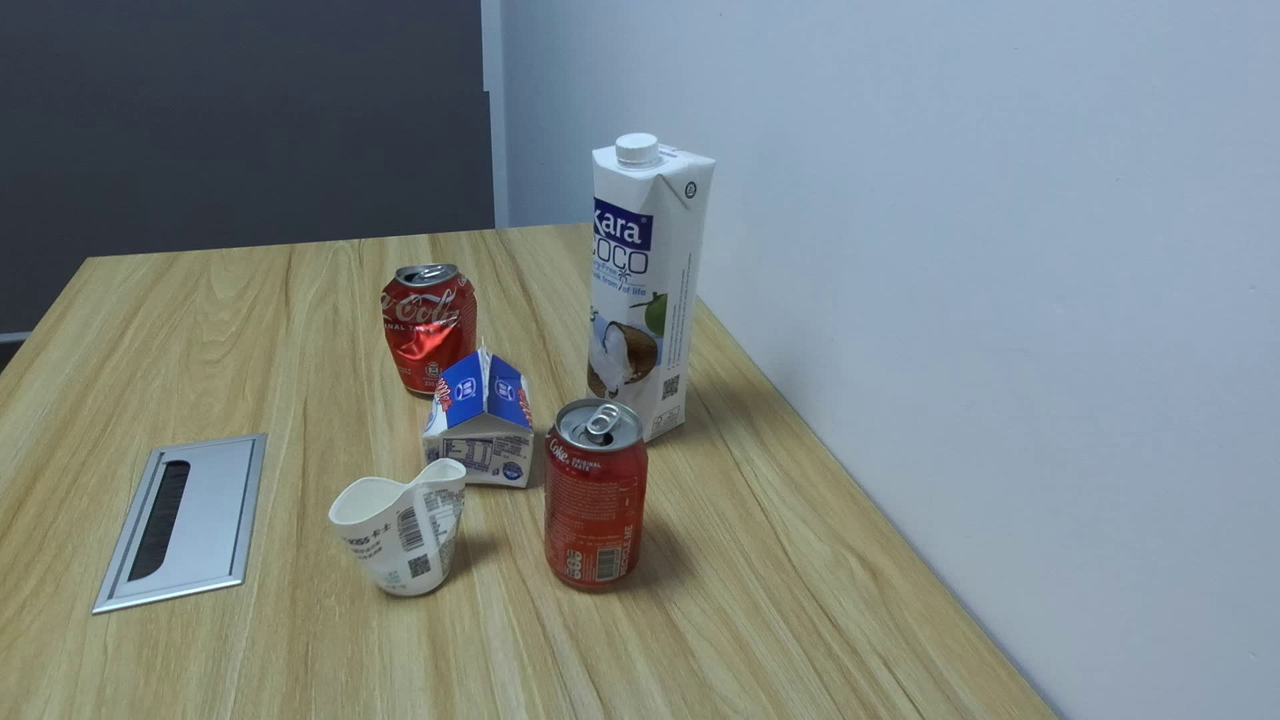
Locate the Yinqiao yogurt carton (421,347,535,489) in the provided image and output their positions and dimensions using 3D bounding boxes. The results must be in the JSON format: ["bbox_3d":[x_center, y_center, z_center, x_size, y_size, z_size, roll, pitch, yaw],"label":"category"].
[{"bbox_3d":[-0.123,0.040,0.540,0.080,0.097,0.074,2,33,-15],"label":"Yinqiao yogurt carton"}]

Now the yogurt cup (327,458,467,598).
[{"bbox_3d":[-0.150,0.107,0.453,0.053,0.071,0.075,19,36,19],"label":"yogurt cup"}]

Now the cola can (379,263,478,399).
[{"bbox_3d":[-0.182,-0.028,0.629,0.069,0.112,0.066,15,33,18],"label":"cola can"}]

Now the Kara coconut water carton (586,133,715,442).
[{"bbox_3d":[0.002,-0.052,0.555,0.075,0.245,0.076,-24,40,-39],"label":"Kara coconut water carton"}]

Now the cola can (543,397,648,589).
[{"bbox_3d":[-0.031,0.085,0.459,0.065,0.117,0.072,-10,35,-18],"label":"cola can"}]
